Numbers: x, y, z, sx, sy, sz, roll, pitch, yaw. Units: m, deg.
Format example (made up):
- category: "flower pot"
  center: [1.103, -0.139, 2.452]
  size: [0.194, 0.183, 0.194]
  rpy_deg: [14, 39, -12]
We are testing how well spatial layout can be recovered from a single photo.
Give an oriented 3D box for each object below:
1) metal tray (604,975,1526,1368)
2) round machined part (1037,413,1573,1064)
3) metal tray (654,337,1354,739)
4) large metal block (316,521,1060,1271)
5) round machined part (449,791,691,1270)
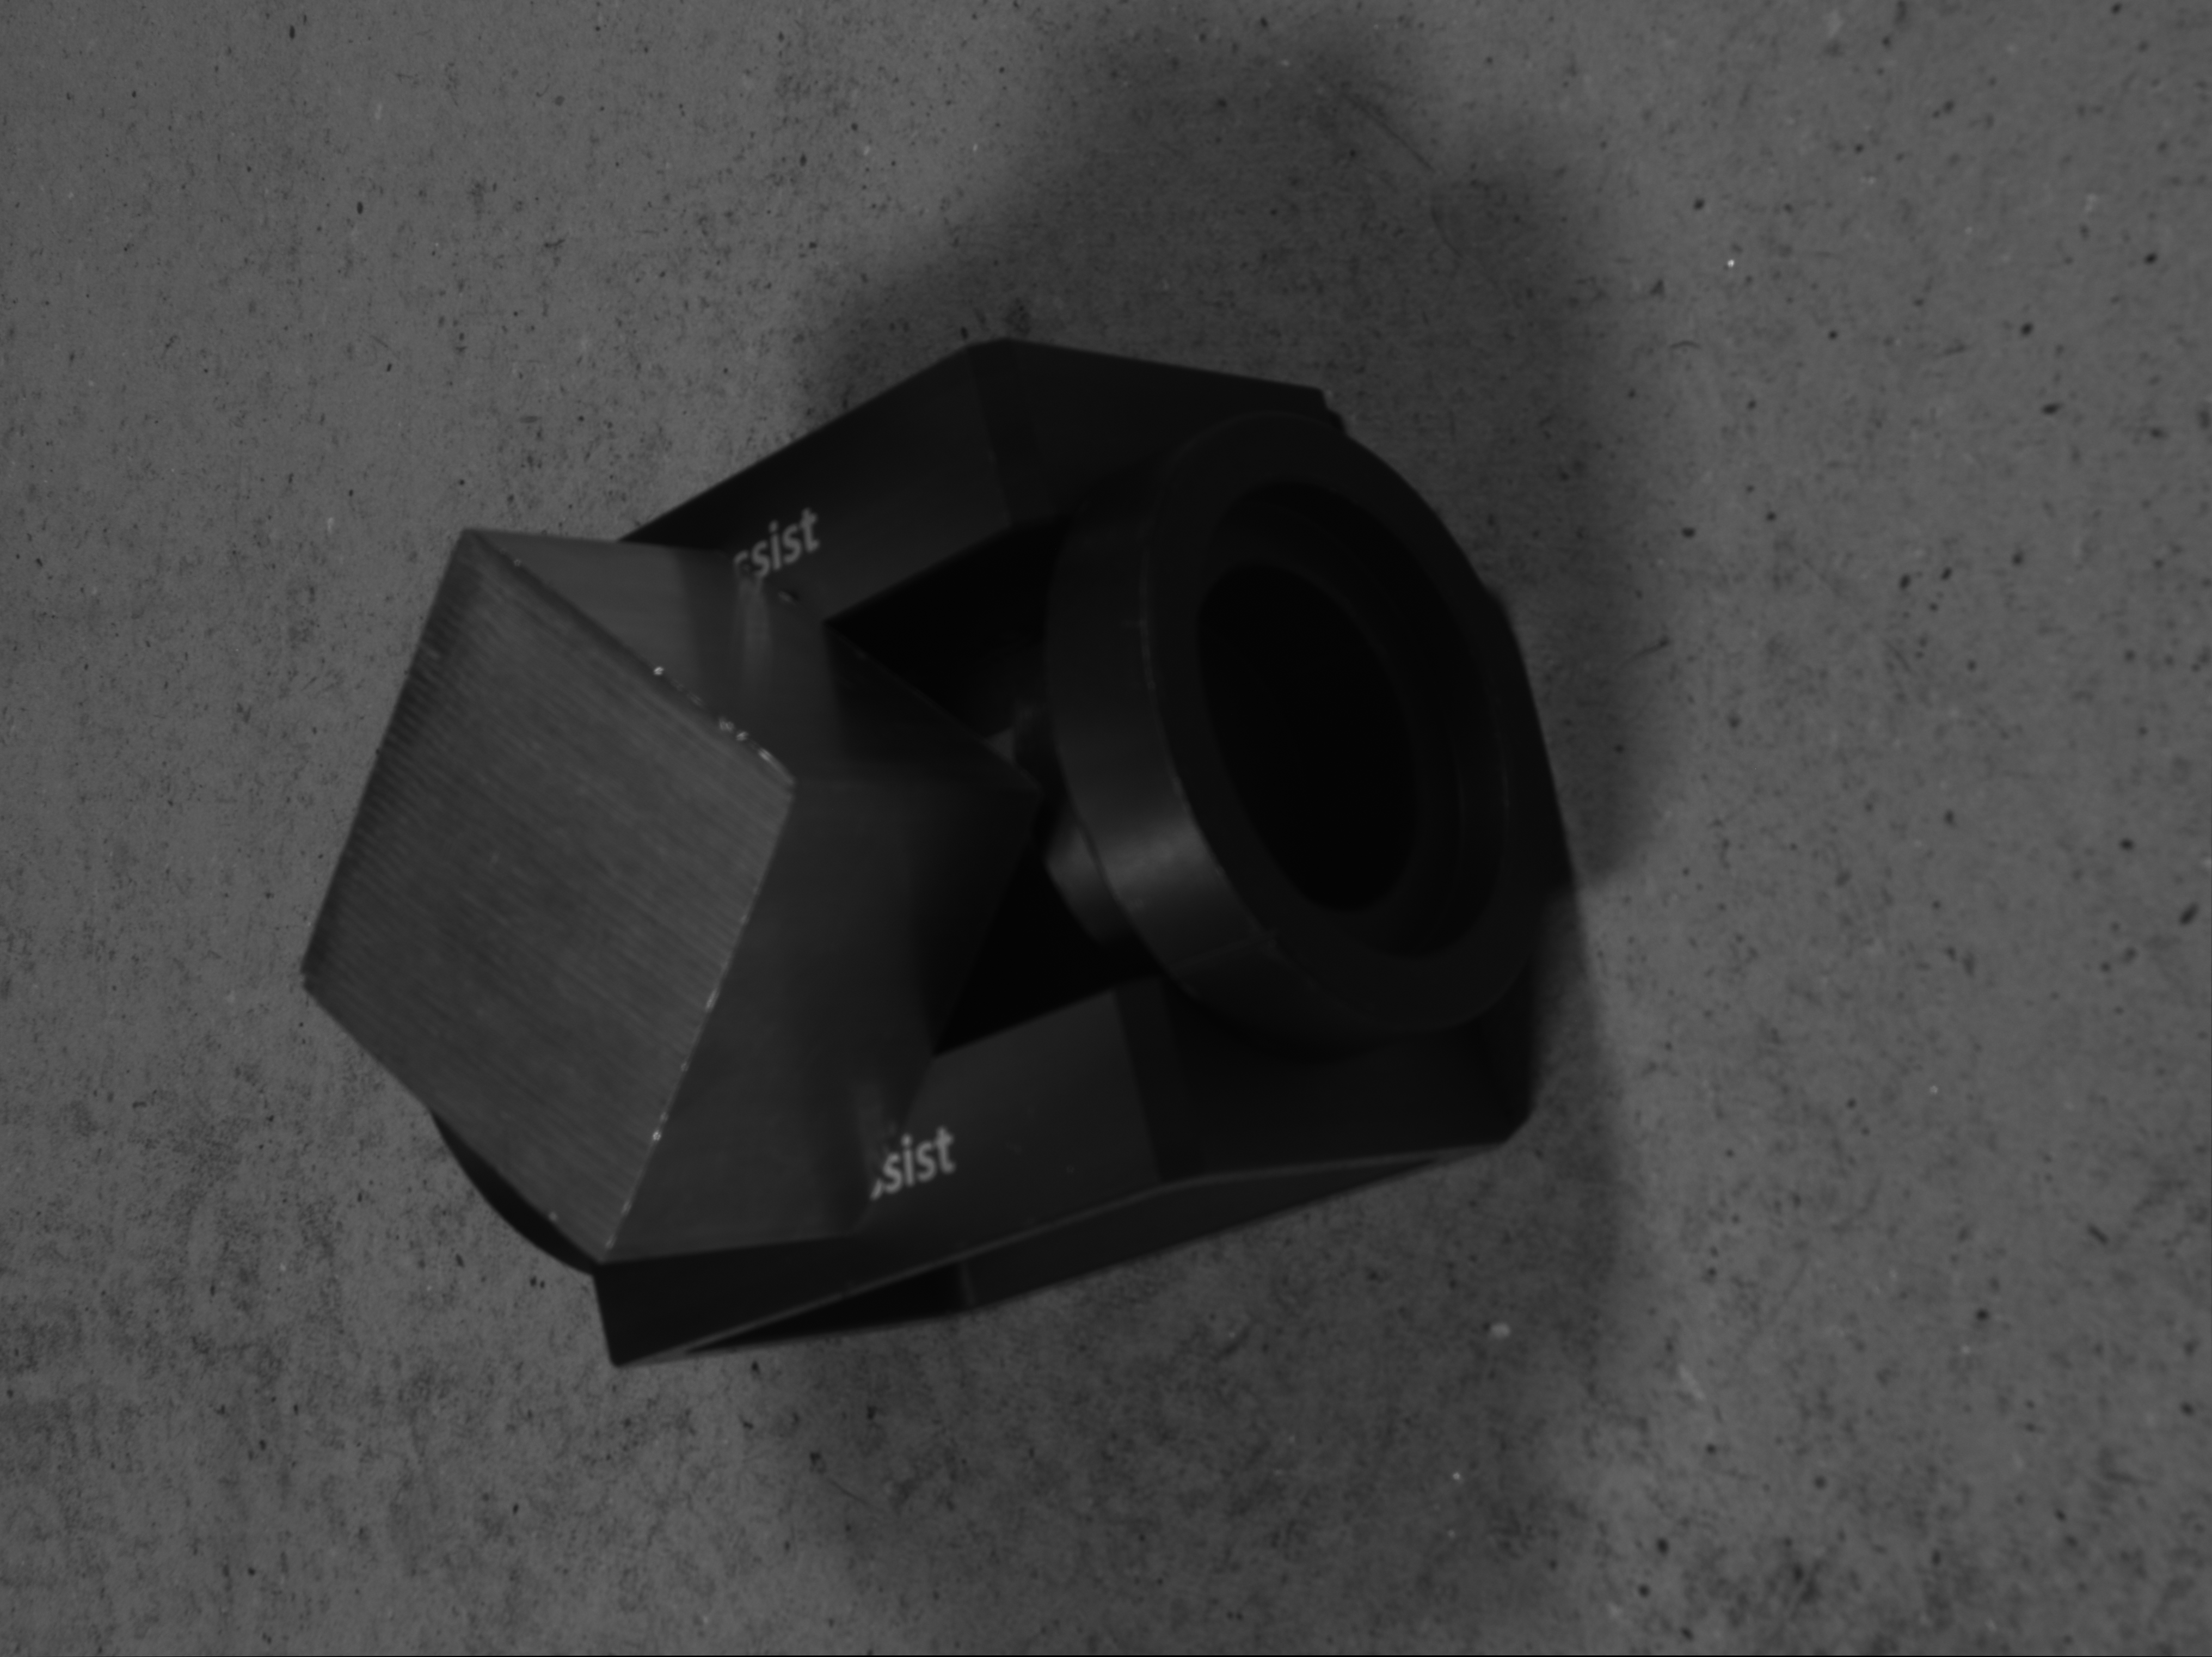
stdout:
- category: "metal tray"
  center: [-0.009, 0.056, 0.600]
  size: [0.130, 0.090, 0.030]
  rpy_deg: [-23, 76, 37]
- category: "round machined part"
  center: [0.027, -0.011, 0.567]
  size: [0.042, 0.098, 0.098]
  rpy_deg: [-20, 77, 38]
- category: "metal tray"
  center: [-0.029, -0.040, 0.620]
  size: [0.130, 0.090, 0.030]
  rpy_deg: [-23, 75, 37]
- category: "large metal block"
  center: [-0.065, 0.009, 0.554]
  size: [0.080, 0.050, 0.080]
  rpy_deg: [36, 112, 34]
- category: "round machined part"
  center: [-0.070, 0.029, 0.646]
  size: [0.042, 0.098, 0.098]
  rpy_deg: [-20, 77, 38]
